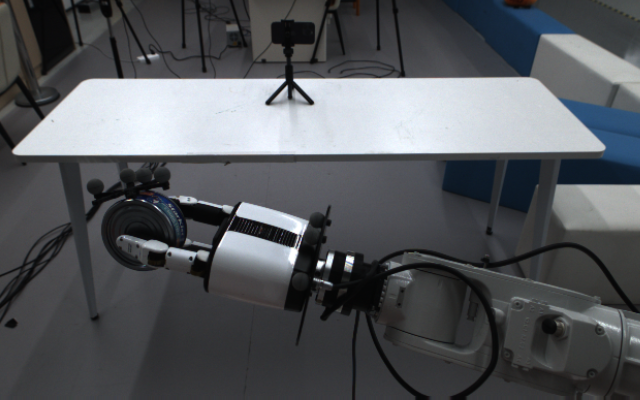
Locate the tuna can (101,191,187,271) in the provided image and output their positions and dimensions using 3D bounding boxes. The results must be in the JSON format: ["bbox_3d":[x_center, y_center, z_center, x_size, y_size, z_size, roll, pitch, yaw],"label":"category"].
[{"bbox_3d":[-0.190,0.041,0.532,0.085,0.085,0.034,6,18,6],"label":"tuna can"}]
